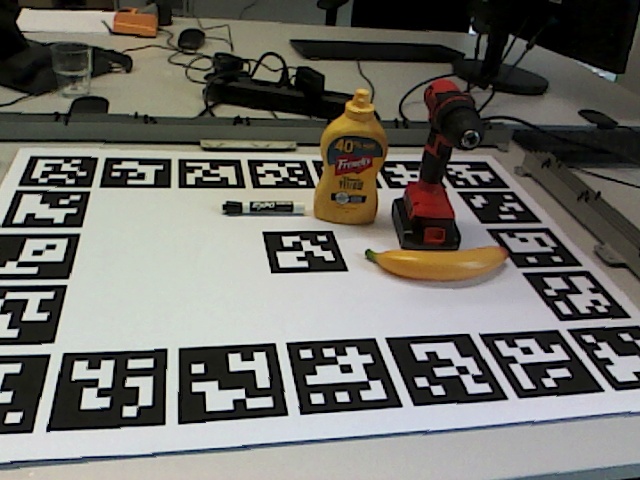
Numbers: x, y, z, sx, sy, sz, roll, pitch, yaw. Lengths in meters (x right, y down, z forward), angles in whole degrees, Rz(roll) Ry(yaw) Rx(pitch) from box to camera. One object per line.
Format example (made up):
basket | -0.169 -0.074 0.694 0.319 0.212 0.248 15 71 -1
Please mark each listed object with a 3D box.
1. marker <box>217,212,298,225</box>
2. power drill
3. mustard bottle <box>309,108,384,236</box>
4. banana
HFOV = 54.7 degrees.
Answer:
marker | -0.093 -0.032 0.925 0.121 0.019 0.020 1 36 -9
power drill | 0.157 -0.076 0.851 0.057 0.187 0.185 9 32 -1
mustard bottle | 0.041 -0.098 0.893 0.096 0.191 0.058 7 34 -3
banana | 0.152 0.053 0.831 0.197 0.039 0.074 3 36 -3
